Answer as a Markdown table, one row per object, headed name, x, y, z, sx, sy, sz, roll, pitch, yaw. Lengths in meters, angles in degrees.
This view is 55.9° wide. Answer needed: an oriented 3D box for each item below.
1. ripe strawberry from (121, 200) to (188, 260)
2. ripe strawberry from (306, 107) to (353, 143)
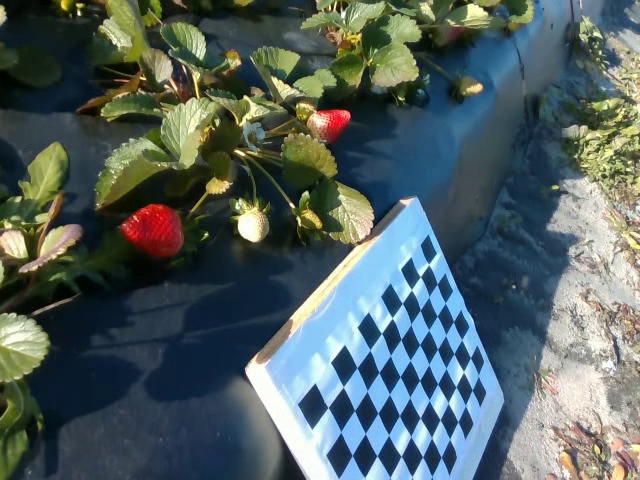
| name | x | y | z | sx | sy | sz | roll | pitch | yaw |
| --- | --- | --- | --- | --- | --- | --- | --- | --- | --- |
| ripe strawberry | -0.108 | -0.007 | 0.376 | 0.036 | 0.044 | 0.053 | -10 | -4 | 32 |
| ripe strawberry | 0.009 | -0.102 | 0.521 | 0.045 | 0.037 | 0.042 | -30 | 31 | 16 |
